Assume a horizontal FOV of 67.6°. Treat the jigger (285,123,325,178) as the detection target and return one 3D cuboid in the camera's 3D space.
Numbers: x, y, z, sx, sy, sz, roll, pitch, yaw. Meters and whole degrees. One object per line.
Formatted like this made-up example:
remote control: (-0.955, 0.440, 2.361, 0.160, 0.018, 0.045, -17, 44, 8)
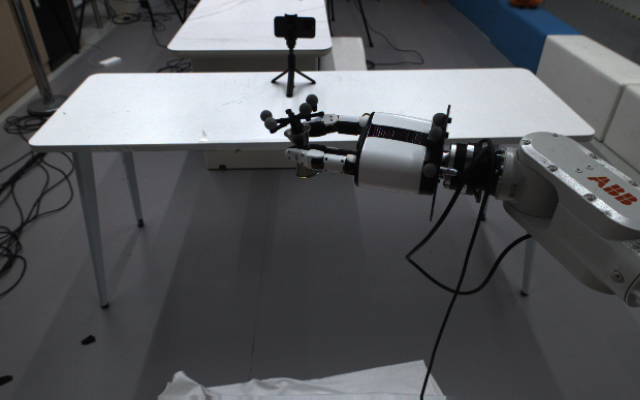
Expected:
jigger: (-0.023, -0.070, 0.703, 0.043, 0.071, 0.043, -12, 29, 7)
